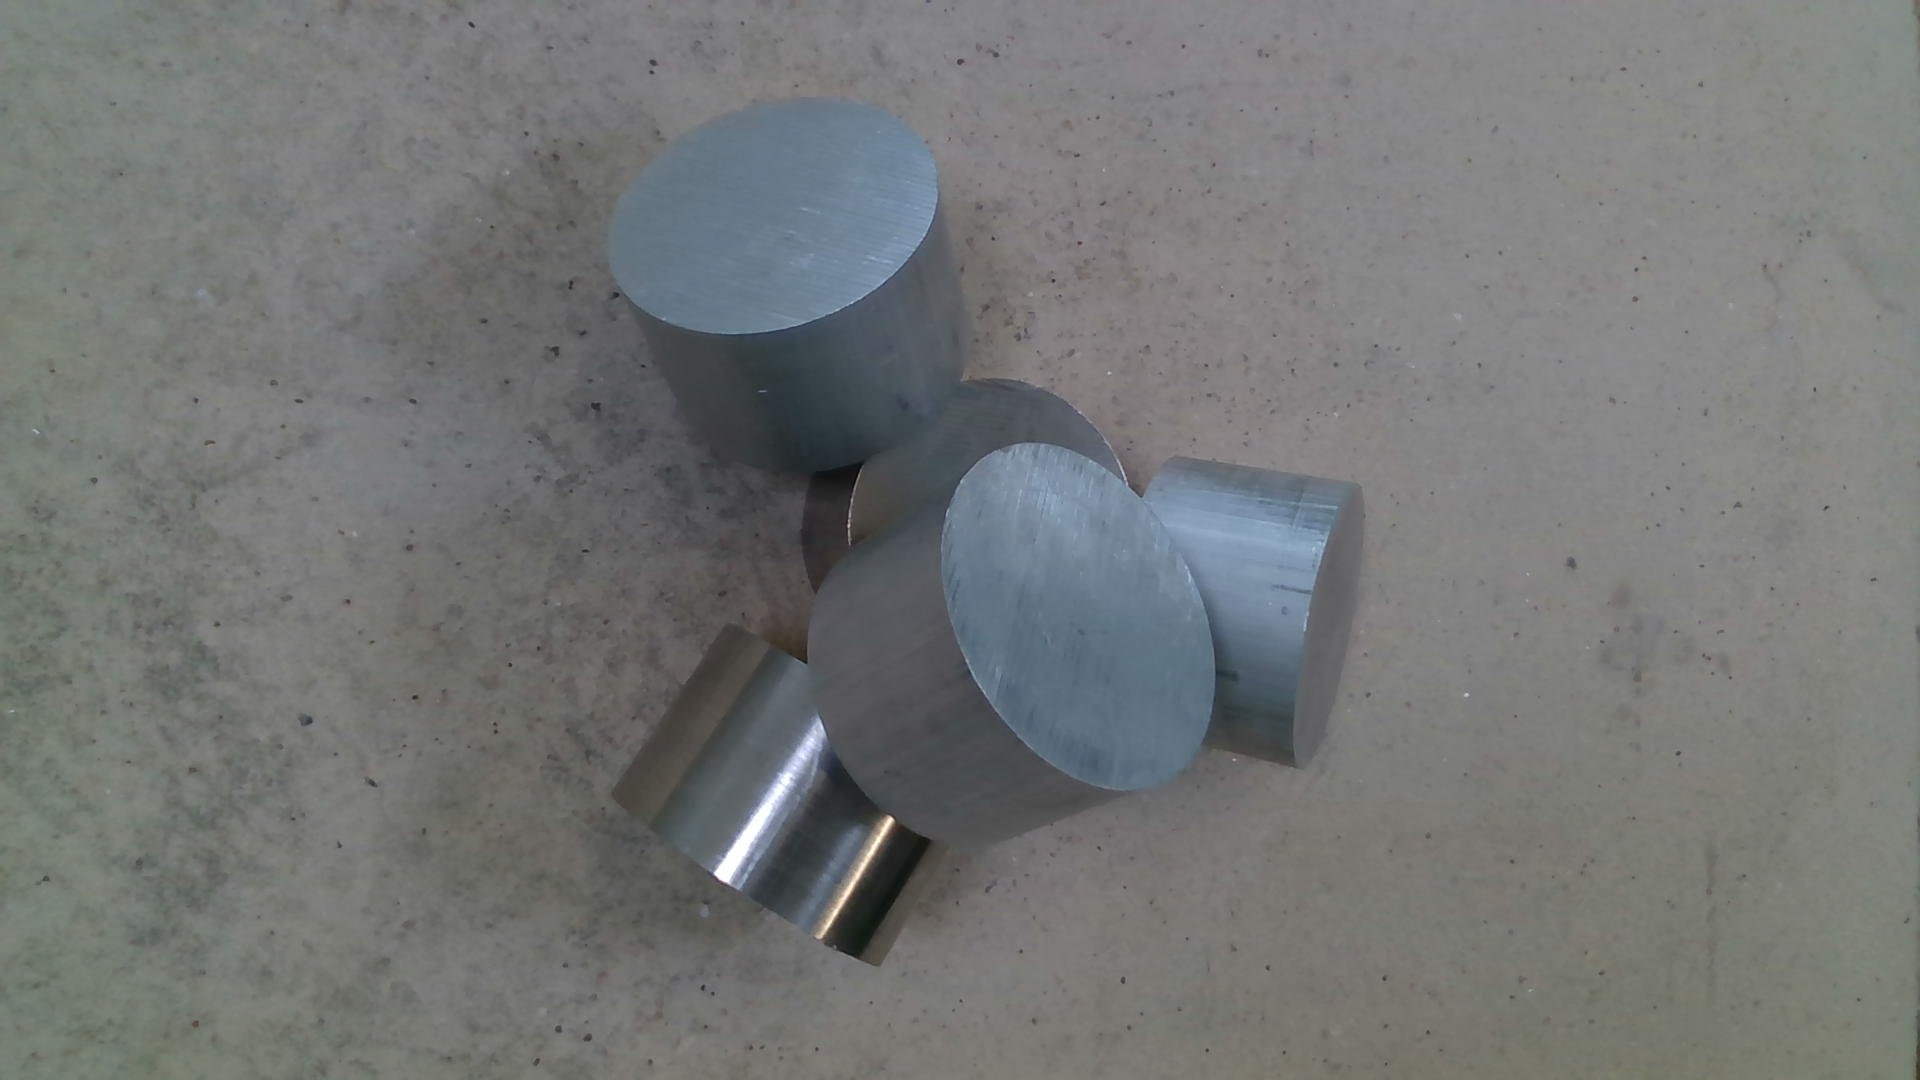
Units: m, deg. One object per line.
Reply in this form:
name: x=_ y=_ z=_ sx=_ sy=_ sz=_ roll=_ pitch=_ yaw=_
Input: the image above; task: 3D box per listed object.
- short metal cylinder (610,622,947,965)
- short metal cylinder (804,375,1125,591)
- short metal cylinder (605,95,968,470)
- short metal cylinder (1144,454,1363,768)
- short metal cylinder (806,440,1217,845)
short metal cylinder: x=-0.040 y=0.064 z=0.350 sx=0.080 sy=0.080 sz=0.050 roll=36 pitch=78 yaw=-16
short metal cylinder: x=0.001 y=-0.003 z=0.381 sx=0.080 sy=0.050 sz=0.080 roll=0 pitch=90 yaw=-21
short metal cylinder: x=-0.041 y=-0.064 z=0.344 sx=0.080 sy=0.050 sz=0.080 roll=-5 pitch=55 yaw=7
short metal cylinder: x=0.079 y=0.019 z=0.388 sx=0.050 sy=0.080 sz=0.080 roll=11 pitch=85 yaw=24
short metal cylinder: x=0.012 y=0.024 z=0.315 sx=0.080 sy=0.050 sz=0.080 roll=21 pitch=55 yaw=-33
